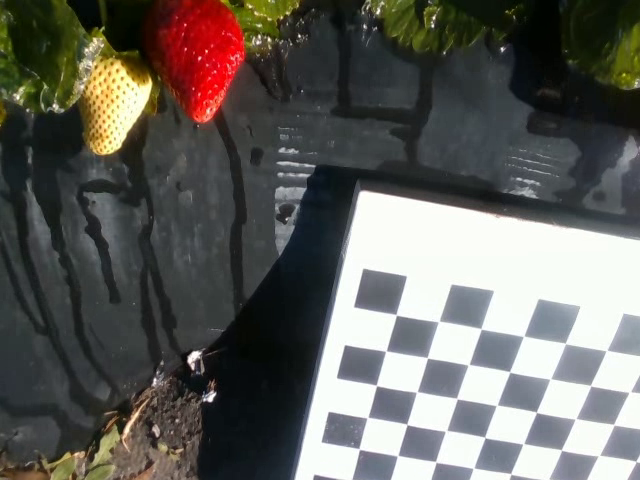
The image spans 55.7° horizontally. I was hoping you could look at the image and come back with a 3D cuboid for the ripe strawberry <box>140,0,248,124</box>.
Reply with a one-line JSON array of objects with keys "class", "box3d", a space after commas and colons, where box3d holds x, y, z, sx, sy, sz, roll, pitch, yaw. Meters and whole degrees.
[{"class": "ripe strawberry", "box3d": [-0.051, -0.072, 0.259, 0.042, 0.061, 0.046, -3, -17, 2]}]
